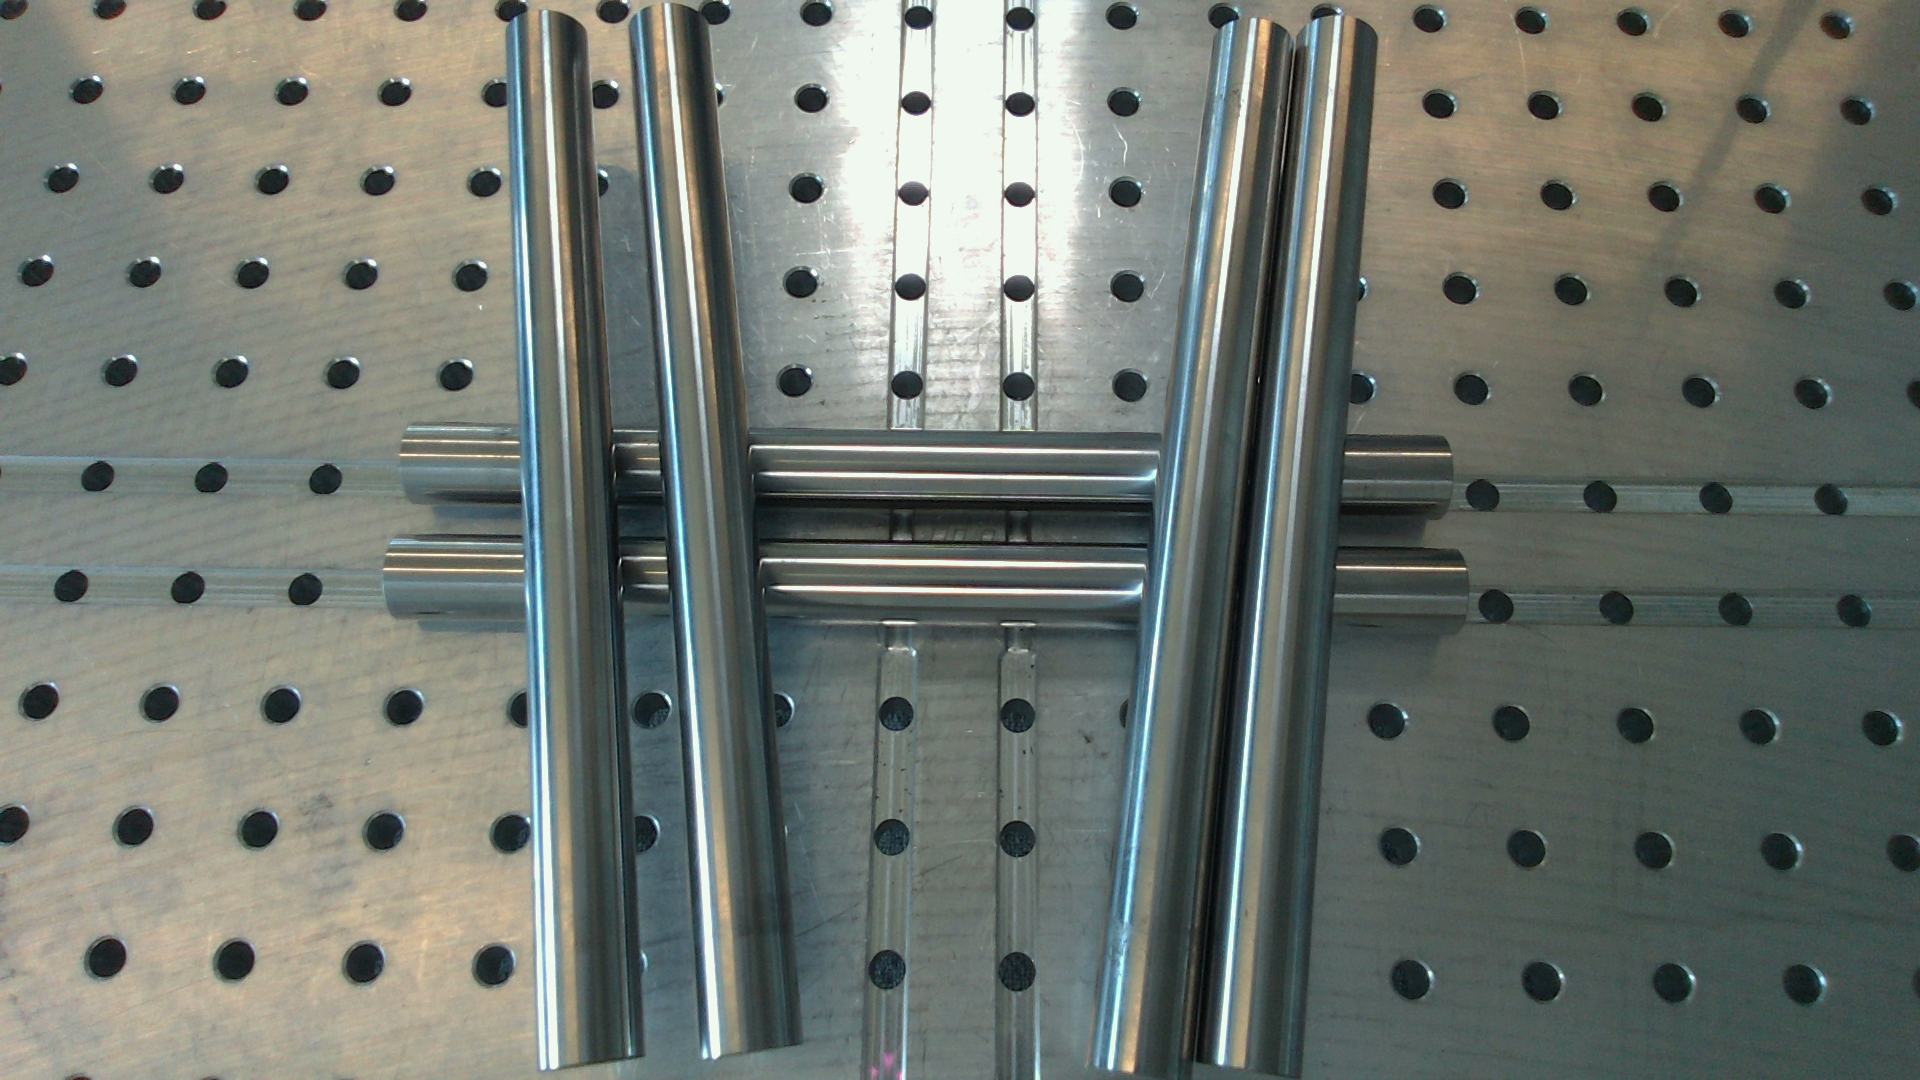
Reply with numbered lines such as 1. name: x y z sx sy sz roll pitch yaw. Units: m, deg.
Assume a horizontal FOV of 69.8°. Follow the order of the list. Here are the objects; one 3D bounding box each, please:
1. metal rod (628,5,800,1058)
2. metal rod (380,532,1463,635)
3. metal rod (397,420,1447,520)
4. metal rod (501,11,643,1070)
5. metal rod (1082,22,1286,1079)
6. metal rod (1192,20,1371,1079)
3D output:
1. metal rod: -0.071 -0.018 0.378 0.025 0.025 0.300 -7 70 -3
2. metal rod: -0.011 0.012 0.393 0.300 0.025 0.025 1 70 0
3. metal rod: -0.011 -0.021 0.405 0.300 0.025 0.025 1 70 0
4. metal rod: -0.109 -0.016 0.376 0.025 0.025 0.300 -8 70 -3
5. metal rod: 0.065 -0.013 0.376 0.025 0.025 0.300 9 70 3
6. metal rod: 0.091 -0.014 0.377 0.025 0.025 0.300 9 70 3
